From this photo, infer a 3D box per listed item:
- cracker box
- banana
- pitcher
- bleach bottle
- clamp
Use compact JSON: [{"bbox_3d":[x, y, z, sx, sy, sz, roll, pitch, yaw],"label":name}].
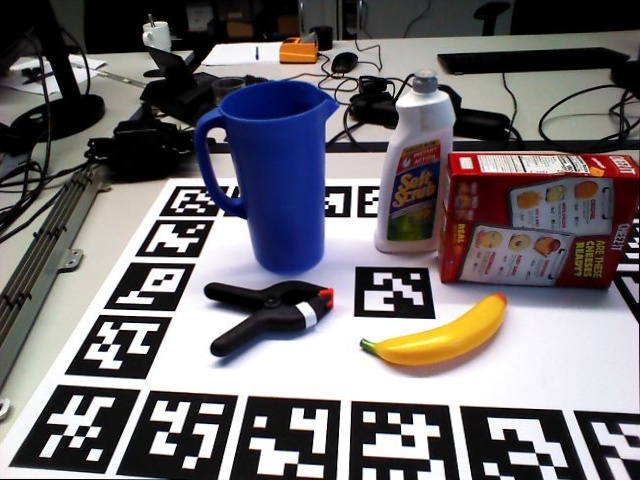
[{"bbox_3d":[0.283,-0.025,0.648,0.214,0.164,0.071,0,32,8],"label":"cracker box"},{"bbox_3d":[0.167,0.113,0.609,0.196,0.039,0.074,-20,37,-22],"label":"banana"},{"bbox_3d":[-0.058,-0.085,0.685,0.188,0.243,0.133,-9,34,-11],"label":"pitcher"},{"bbox_3d":[0.134,-0.091,0.709,0.103,0.251,0.067,0,34,6],"label":"bleach bottle"},{"bbox_3d":[-0.051,0.092,0.647,0.165,0.037,0.121,-8,33,-9],"label":"clamp"}]
